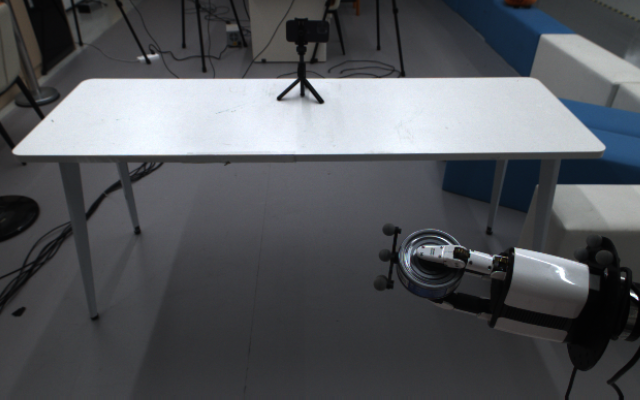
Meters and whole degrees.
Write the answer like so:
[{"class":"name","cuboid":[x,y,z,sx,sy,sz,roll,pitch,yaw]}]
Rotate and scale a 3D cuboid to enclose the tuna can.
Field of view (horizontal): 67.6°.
[{"class":"tuna can","cuboid":[0.144,0.078,0.620,0.085,0.034,0.085,-2,57,3]}]
